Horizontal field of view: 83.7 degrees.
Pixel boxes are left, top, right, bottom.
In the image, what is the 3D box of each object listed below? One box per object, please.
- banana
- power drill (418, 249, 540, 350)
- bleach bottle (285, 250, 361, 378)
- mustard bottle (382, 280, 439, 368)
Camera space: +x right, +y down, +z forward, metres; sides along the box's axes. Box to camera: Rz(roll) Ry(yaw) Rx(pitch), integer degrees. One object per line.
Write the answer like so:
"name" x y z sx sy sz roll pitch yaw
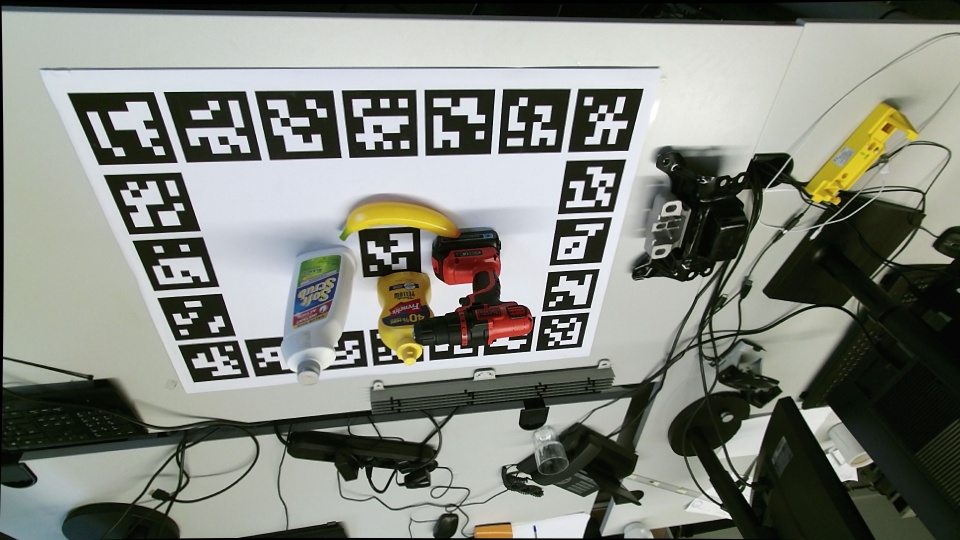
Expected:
"banana" -0.125 -0.066 0.870 0.198 0.038 0.074 -2 122 -12
"power drill" -0.009 0.049 0.861 0.185 0.186 0.057 -4 133 -5
"bleach bottle" -0.238 0.065 0.824 0.103 0.249 0.068 -10 125 -4
"mustard bottle" -0.116 0.093 0.895 0.096 0.190 0.058 -2 126 -9
